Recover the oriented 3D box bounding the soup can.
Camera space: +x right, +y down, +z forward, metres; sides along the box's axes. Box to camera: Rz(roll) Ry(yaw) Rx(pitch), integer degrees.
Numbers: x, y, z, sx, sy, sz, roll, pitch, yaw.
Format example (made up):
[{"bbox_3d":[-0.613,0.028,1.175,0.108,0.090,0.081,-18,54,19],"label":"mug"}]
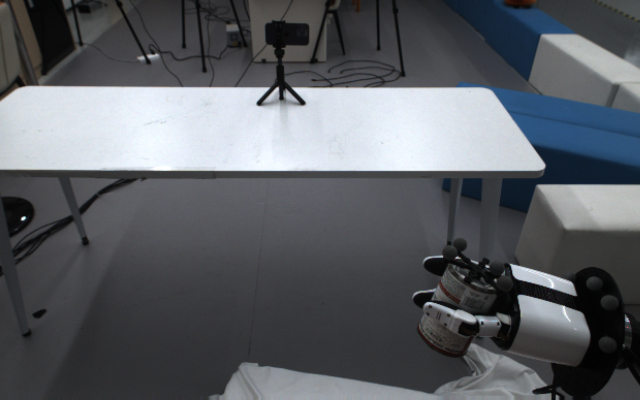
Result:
[{"bbox_3d":[0.173,0.132,0.600,0.067,0.101,0.067,17,21,-7],"label":"soup can"}]
